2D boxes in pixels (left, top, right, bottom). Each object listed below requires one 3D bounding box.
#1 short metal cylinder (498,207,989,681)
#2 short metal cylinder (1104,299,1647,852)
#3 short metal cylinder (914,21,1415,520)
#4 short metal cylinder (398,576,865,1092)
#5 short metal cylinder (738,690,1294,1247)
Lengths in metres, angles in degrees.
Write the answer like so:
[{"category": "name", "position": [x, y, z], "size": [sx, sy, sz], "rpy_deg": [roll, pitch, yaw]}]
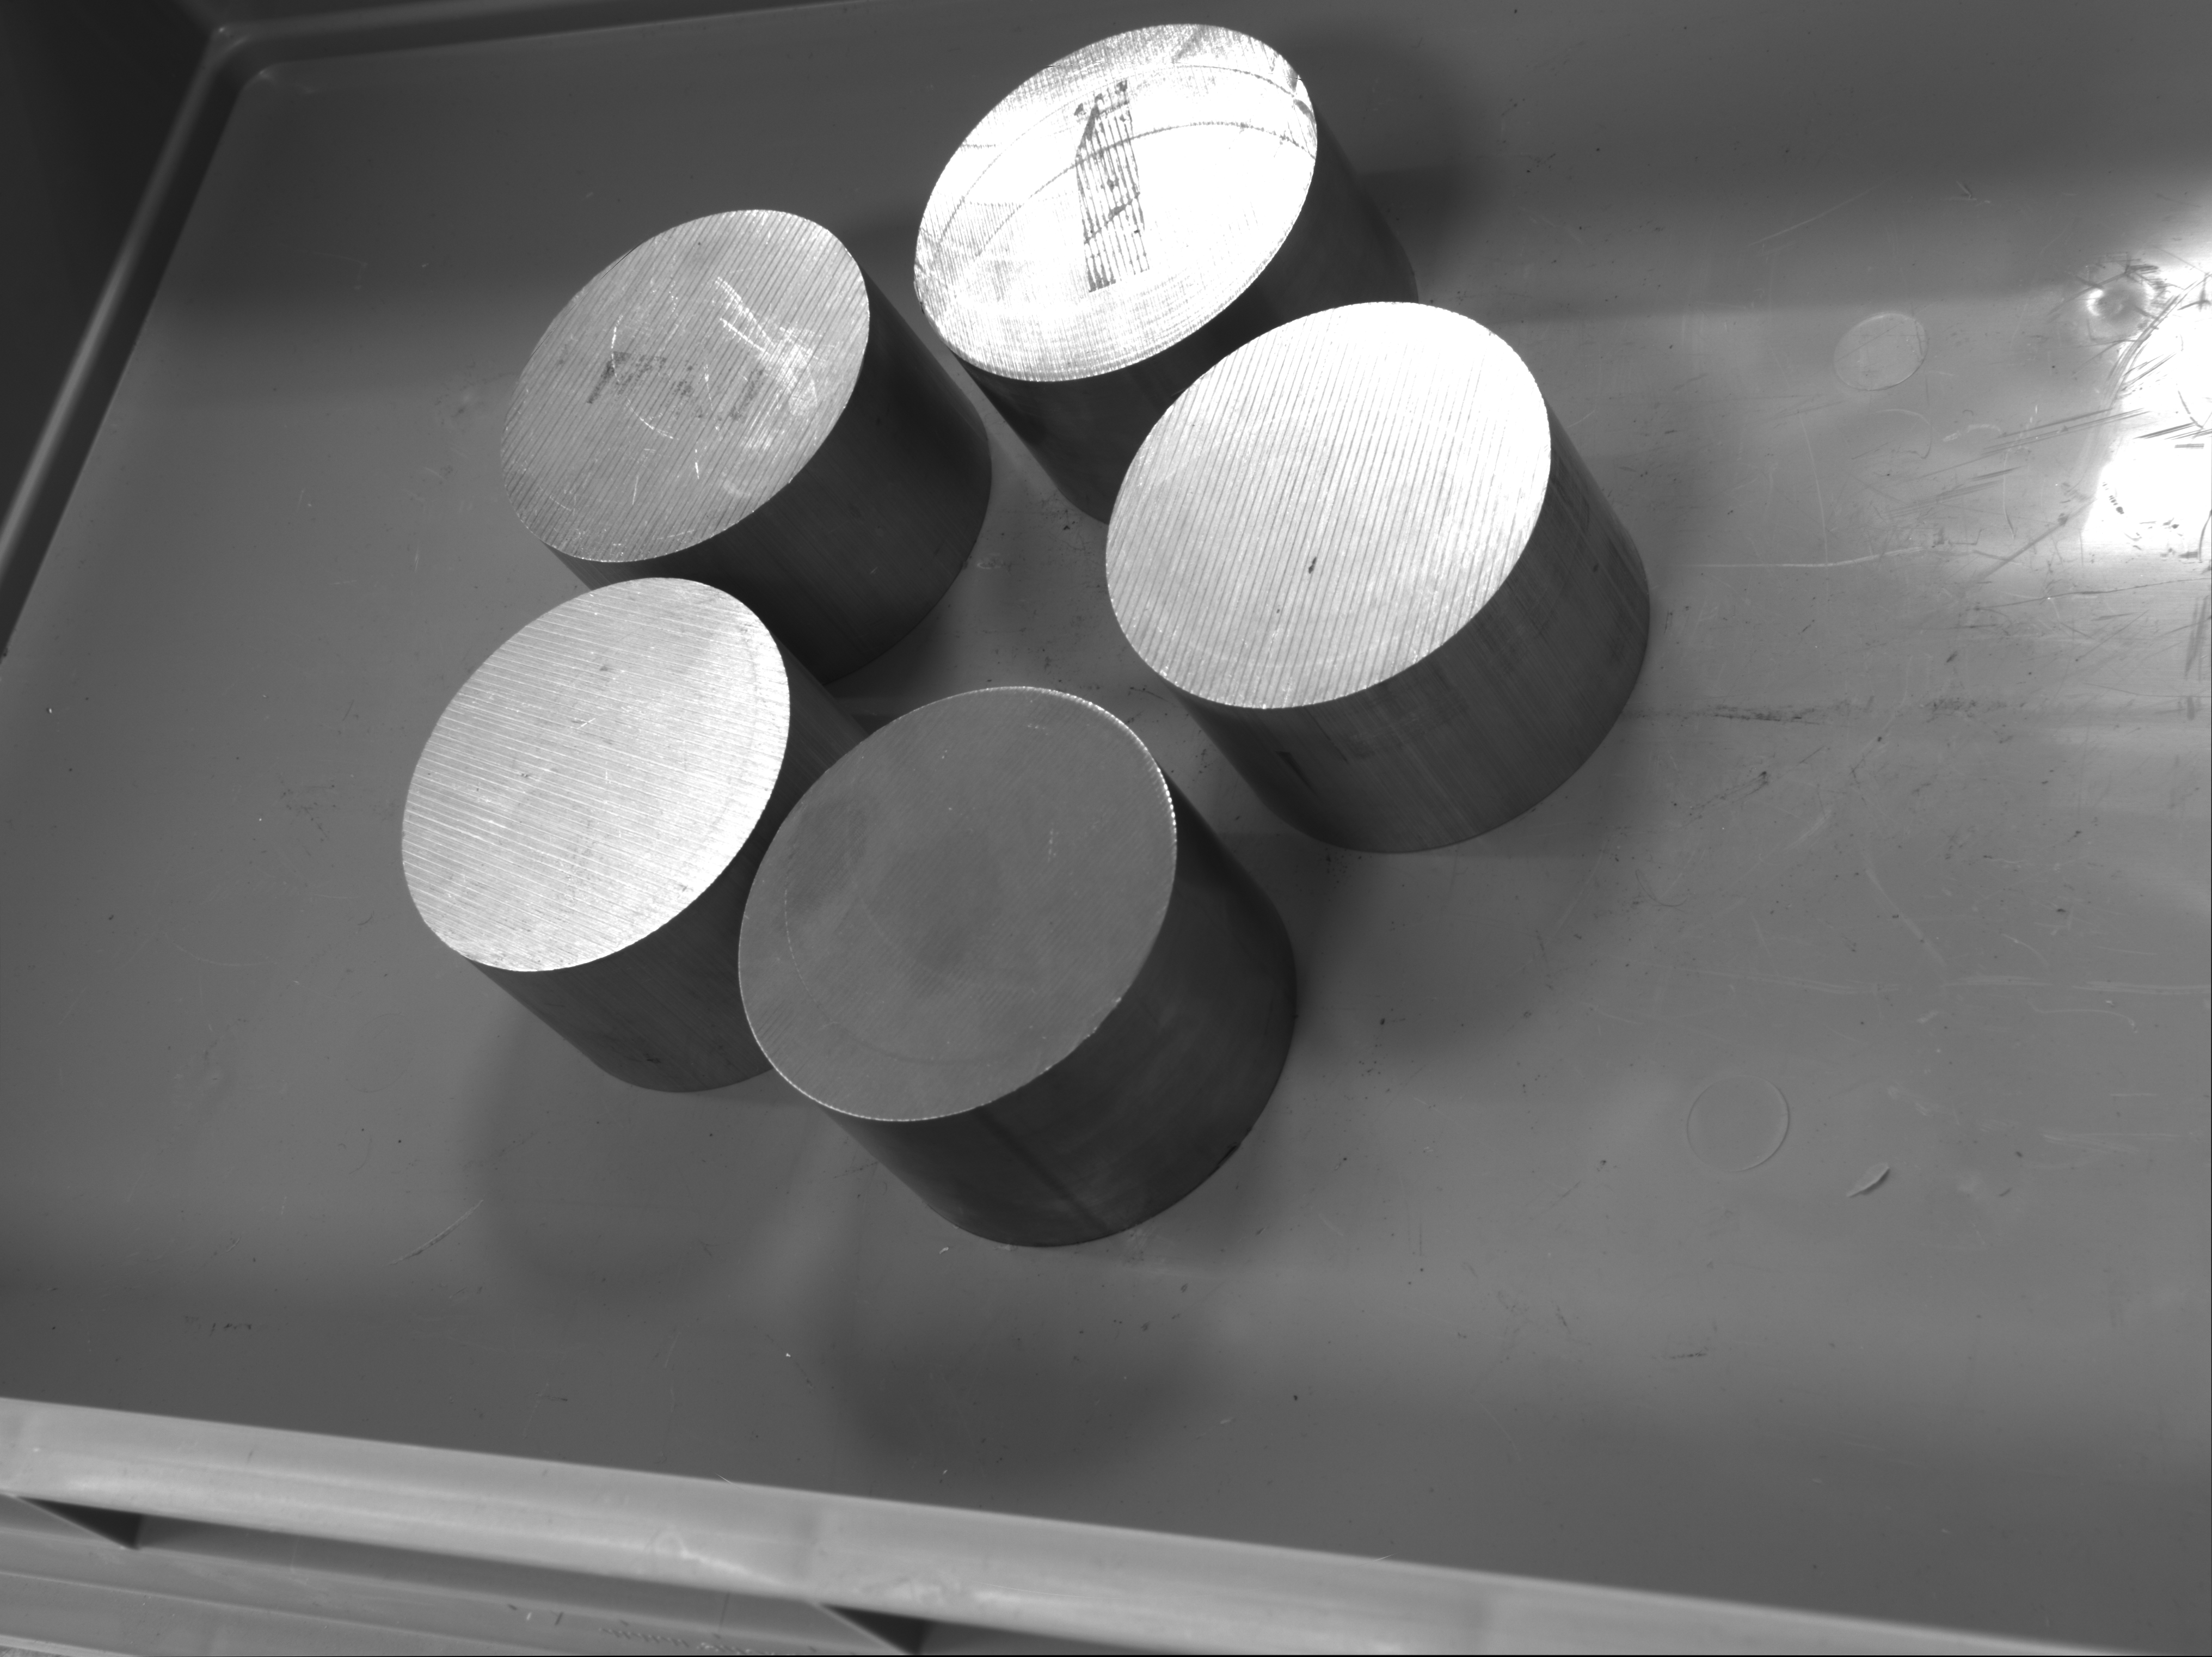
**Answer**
[{"category": "short metal cylinder", "position": [-0.070, -0.073, 0.709], "size": [0.080, 0.050, 0.080], "rpy_deg": [-14, 56, 21]}, {"category": "short metal cylinder", "position": [0.047, -0.043, 0.628], "size": [0.080, 0.050, 0.080], "rpy_deg": [-14, 56, 21]}, {"category": "short metal cylinder", "position": [0.011, -0.103, 0.684], "size": [0.080, 0.050, 0.080], "rpy_deg": [-14, 56, 21]}, {"category": "short metal cylinder", "position": [-0.081, 0.001, 0.670], "size": [0.080, 0.050, 0.080], "rpy_deg": [-14, 56, 21]}, {"category": "short metal cylinder", "position": [-0.015, 0.024, 0.620], "size": [0.080, 0.050, 0.080], "rpy_deg": [-14, 56, 21]}]
